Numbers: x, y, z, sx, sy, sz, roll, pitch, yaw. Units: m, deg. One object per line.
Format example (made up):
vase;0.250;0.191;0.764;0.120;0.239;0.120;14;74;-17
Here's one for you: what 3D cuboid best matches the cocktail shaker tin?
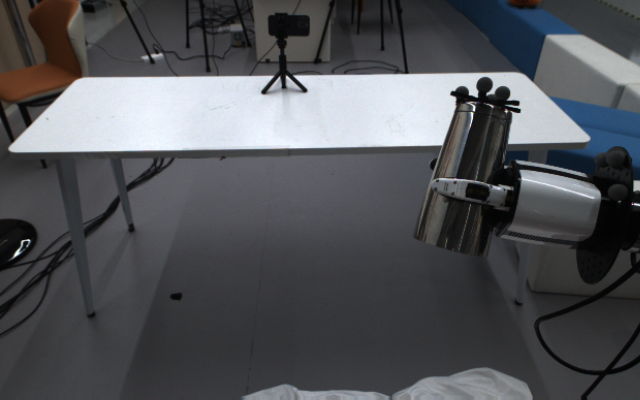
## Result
cocktail shaker tin;0.179;-0.027;0.586;0.093;0.170;0.093;13;4;-1
